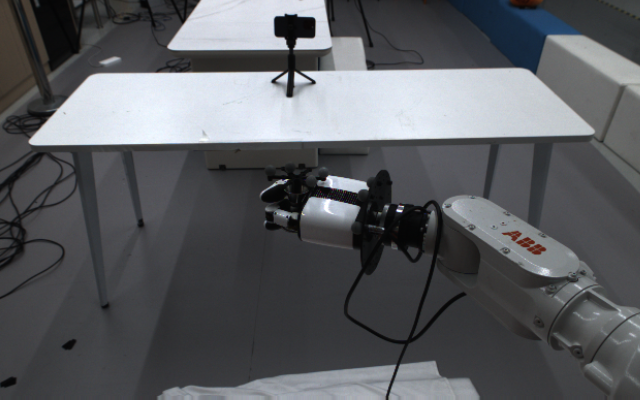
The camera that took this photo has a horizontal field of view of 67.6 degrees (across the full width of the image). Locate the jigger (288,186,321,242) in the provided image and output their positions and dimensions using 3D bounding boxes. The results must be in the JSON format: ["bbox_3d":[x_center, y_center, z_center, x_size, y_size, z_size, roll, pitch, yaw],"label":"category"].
[{"bbox_3d":[-0.034,0.011,0.763,0.043,0.071,0.043,3,25,-1],"label":"jigger"}]
